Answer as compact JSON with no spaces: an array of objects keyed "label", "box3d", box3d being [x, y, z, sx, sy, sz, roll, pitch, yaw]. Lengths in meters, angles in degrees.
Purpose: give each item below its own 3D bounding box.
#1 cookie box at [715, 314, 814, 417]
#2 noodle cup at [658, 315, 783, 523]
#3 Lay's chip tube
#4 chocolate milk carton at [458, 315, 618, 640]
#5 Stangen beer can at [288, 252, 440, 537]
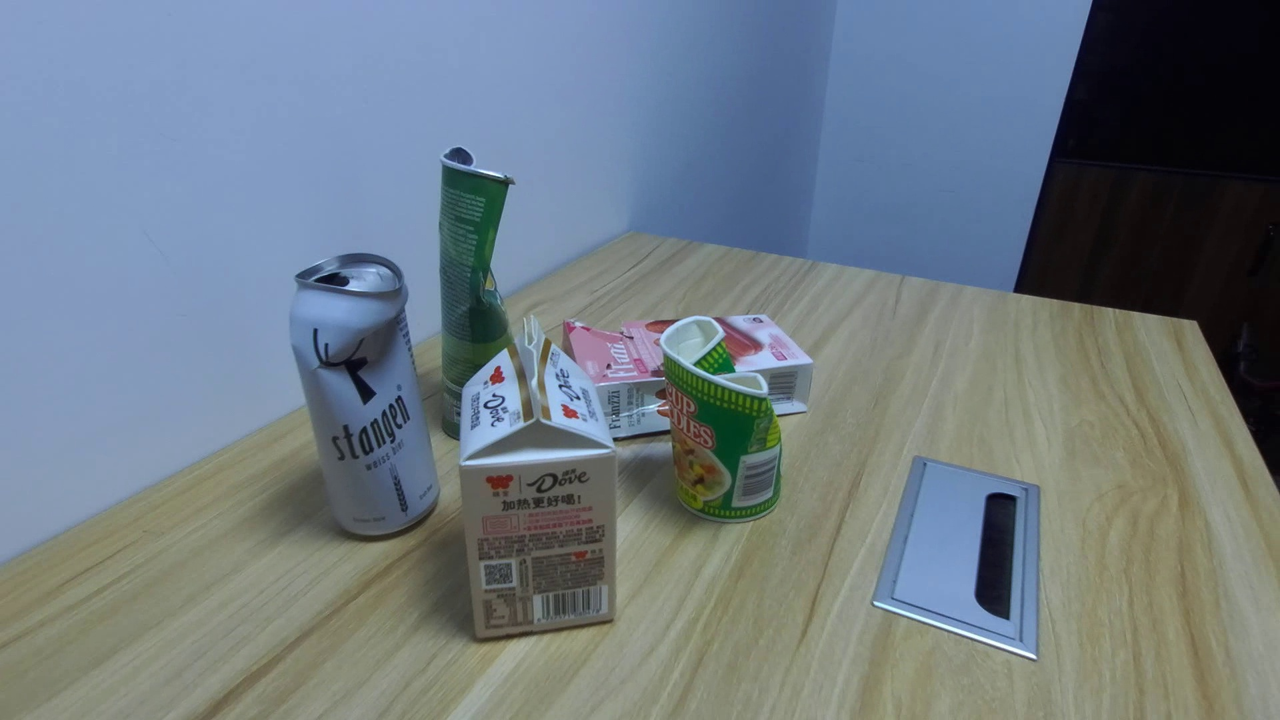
[{"label":"cookie box","box3d":[0.035,0.010,0.566,0.186,0.059,0.104,-3,29,-15]},{"label":"noodle cup","box3d":[0.056,0.038,0.443,0.075,0.122,0.083,3,36,21]},{"label":"Lay's chip tube","box3d":[-0.116,-0.043,0.502,0.077,0.201,0.069,17,31,24]},{"label":"chocolate milk carton","box3d":[-0.052,0.057,0.360,0.074,0.148,0.075,-4,26,-11]},{"label":"Stangen beer can","box3d":[-0.158,0.024,0.411,0.066,0.162,0.076,-14,31,-27]}]
